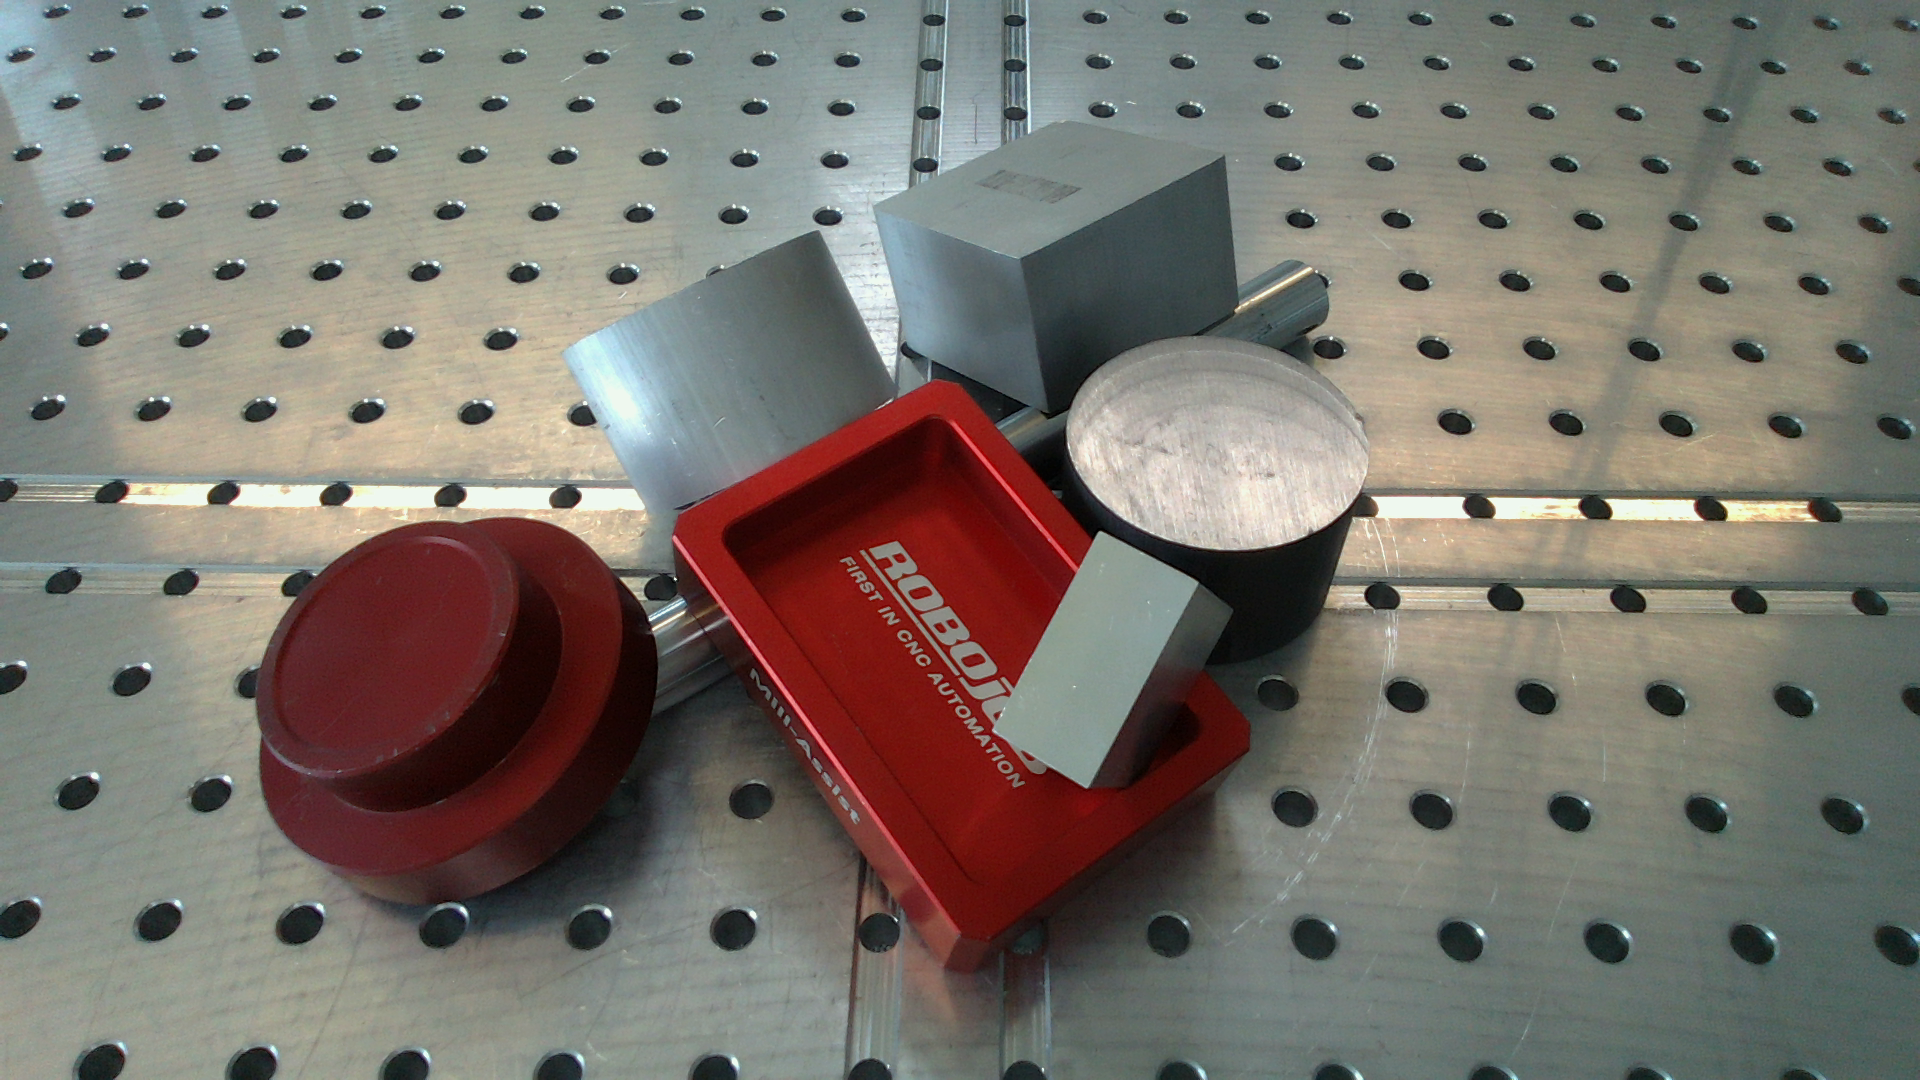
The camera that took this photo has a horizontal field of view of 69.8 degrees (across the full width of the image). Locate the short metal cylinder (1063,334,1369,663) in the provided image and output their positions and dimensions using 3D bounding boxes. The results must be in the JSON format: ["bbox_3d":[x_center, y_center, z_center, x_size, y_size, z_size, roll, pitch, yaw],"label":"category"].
[{"bbox_3d":[0.069,-0.013,0.388,0.080,0.050,0.080,0,50,0],"label":"short metal cylinder"}]

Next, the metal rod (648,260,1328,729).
[{"bbox_3d":[-0.004,-0.011,0.406,0.301,0.025,0.025,-31,56,-23],"label":"metal rod"}]

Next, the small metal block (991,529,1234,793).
[{"bbox_3d":[0.037,0.029,0.315,0.025,0.050,0.050,29,91,20],"label":"small metal block"}]

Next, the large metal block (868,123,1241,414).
[{"bbox_3d":[0.030,-0.090,0.439,0.080,0.050,0.080,-30,36,-23],"label":"large metal block"}]

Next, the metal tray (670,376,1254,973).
[{"bbox_3d":[-0.002,0.029,0.348,0.090,0.030,0.130,-31,69,-23],"label":"metal tray"}]

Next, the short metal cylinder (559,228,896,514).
[{"bbox_3d":[-0.065,-0.048,0.392,0.080,0.050,0.080,-25,12,6],"label":"short metal cylinder"}]

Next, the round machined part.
[{"bbox_3d":[-0.129,0.034,0.337,0.098,0.042,0.098,-9,55,13],"label":"round machined part"}]
